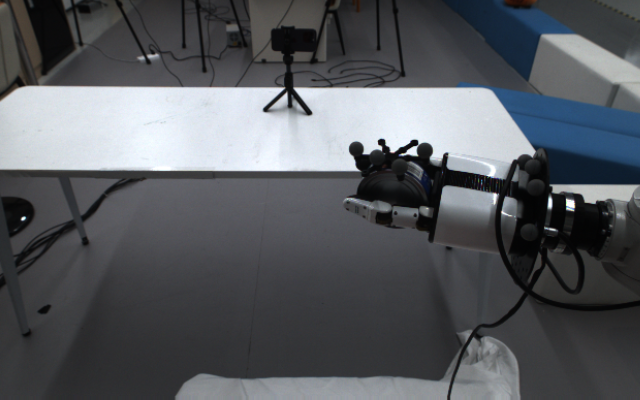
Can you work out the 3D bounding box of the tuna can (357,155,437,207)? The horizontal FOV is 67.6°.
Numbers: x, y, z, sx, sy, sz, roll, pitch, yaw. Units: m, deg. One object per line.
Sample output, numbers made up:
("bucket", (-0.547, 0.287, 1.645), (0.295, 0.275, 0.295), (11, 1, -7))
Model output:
("tuna can", (0.092, -0.011, 0.582), (0.085, 0.085, 0.034), (14, 41, 16))
